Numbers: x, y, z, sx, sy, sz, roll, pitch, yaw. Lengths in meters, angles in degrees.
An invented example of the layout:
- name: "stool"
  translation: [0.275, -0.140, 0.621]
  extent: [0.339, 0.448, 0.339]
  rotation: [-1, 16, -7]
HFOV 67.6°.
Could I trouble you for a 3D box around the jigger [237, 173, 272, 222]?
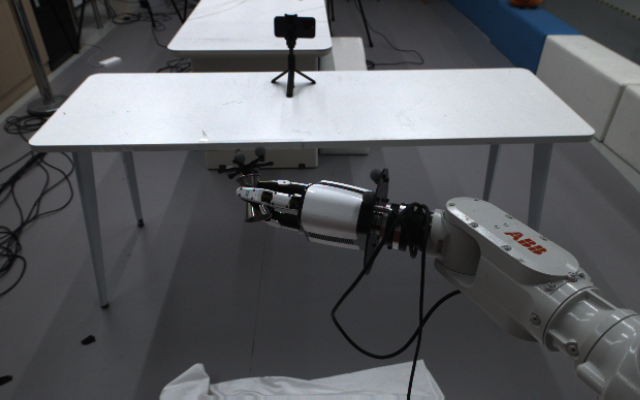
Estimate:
- name: "jigger"
  translation: [-0.103, -0.002, 0.754]
  extent: [0.043, 0.043, 0.071]
  rotation: [-12, 78, -19]
